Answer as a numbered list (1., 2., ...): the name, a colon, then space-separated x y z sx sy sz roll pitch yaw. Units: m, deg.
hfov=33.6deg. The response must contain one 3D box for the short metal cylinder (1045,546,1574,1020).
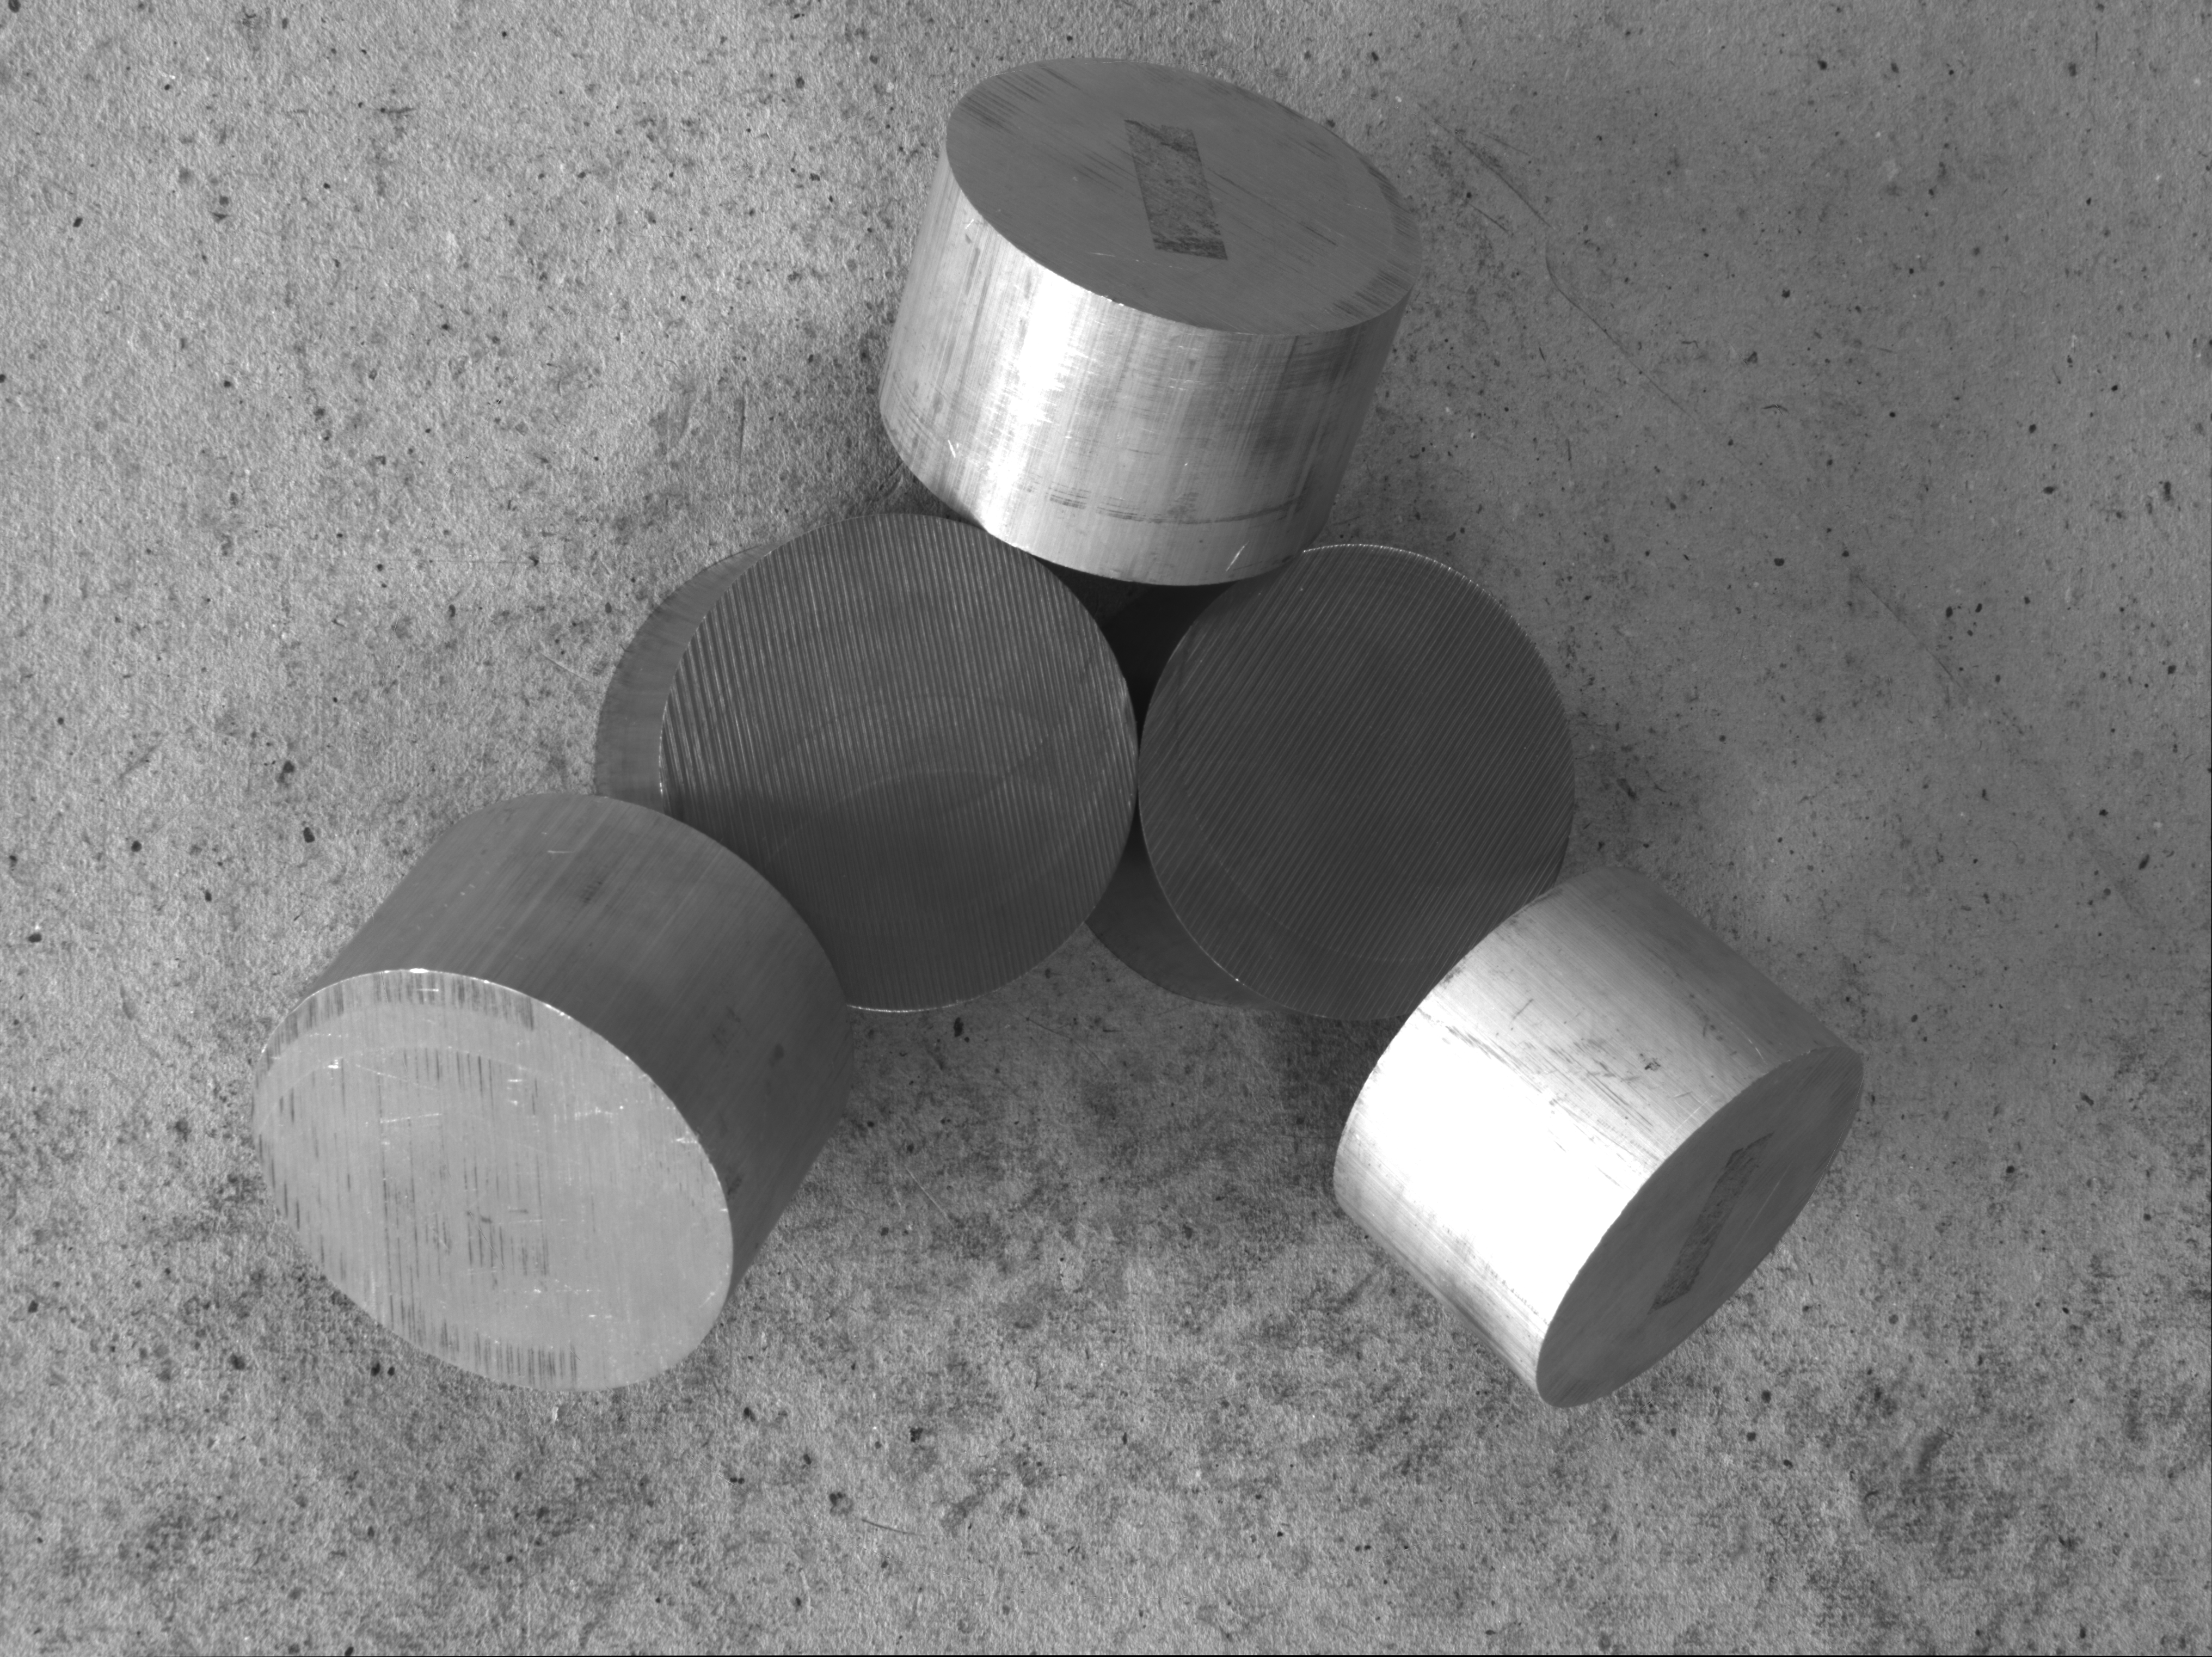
1. short metal cylinder: 0.035 -0.007 0.642 0.080 0.050 0.080 0 89 -20

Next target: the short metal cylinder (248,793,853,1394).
1. short metal cylinder: -0.086 0.042 0.576 0.080 0.080 0.050 48 35 -13

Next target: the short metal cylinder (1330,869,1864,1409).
1. short metal cylinder: 0.085 0.054 0.638 0.080 0.080 0.050 -39 61 -16

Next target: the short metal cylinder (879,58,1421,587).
1. short metal cylinder: 0.007 -0.085 0.610 0.080 0.080 0.050 2 132 -20

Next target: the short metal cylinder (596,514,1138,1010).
1. short metal cylinder: -0.041 -0.011 0.615 0.080 0.050 0.080 0 89 -20
